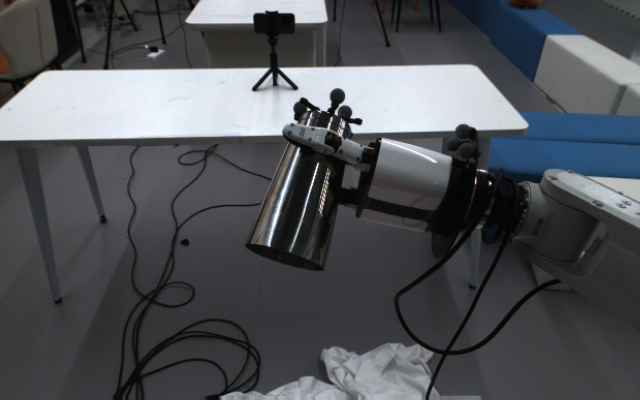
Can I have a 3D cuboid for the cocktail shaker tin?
[{"bbox_3d":[-0.015,-0.015,0.561,0.093,0.093,0.170,12,72,14],"label":"cocktail shaker tin"}]
